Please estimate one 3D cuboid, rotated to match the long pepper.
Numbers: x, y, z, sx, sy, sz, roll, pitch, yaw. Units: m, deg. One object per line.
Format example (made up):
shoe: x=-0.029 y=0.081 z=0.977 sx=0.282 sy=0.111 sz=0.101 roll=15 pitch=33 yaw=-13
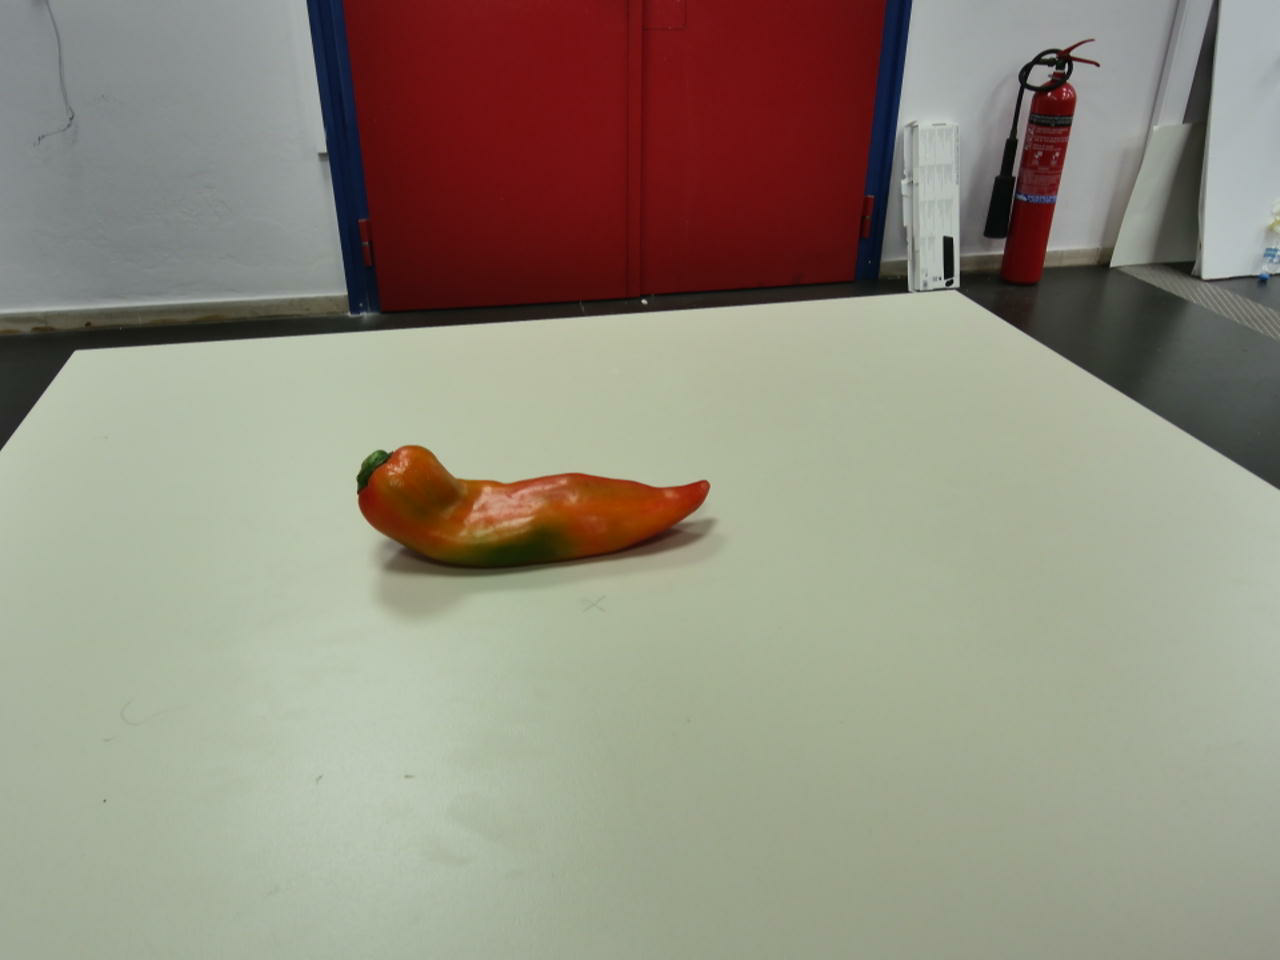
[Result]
long pepper: x=-0.058 y=0.008 z=0.563 sx=0.199 sy=0.065 sz=0.066 roll=-3 pitch=27 yaw=-7
